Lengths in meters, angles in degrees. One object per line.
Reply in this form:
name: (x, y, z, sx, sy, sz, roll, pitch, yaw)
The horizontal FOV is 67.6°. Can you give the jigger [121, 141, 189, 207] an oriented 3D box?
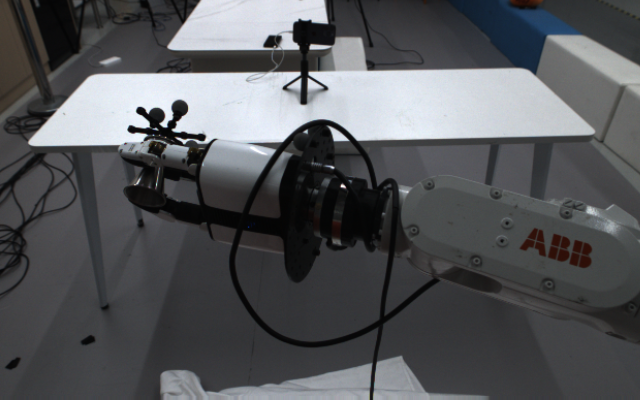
jigger: (-0.182, -0.032, 0.527, 0.043, 0.043, 0.071, 6, 61, 5)
